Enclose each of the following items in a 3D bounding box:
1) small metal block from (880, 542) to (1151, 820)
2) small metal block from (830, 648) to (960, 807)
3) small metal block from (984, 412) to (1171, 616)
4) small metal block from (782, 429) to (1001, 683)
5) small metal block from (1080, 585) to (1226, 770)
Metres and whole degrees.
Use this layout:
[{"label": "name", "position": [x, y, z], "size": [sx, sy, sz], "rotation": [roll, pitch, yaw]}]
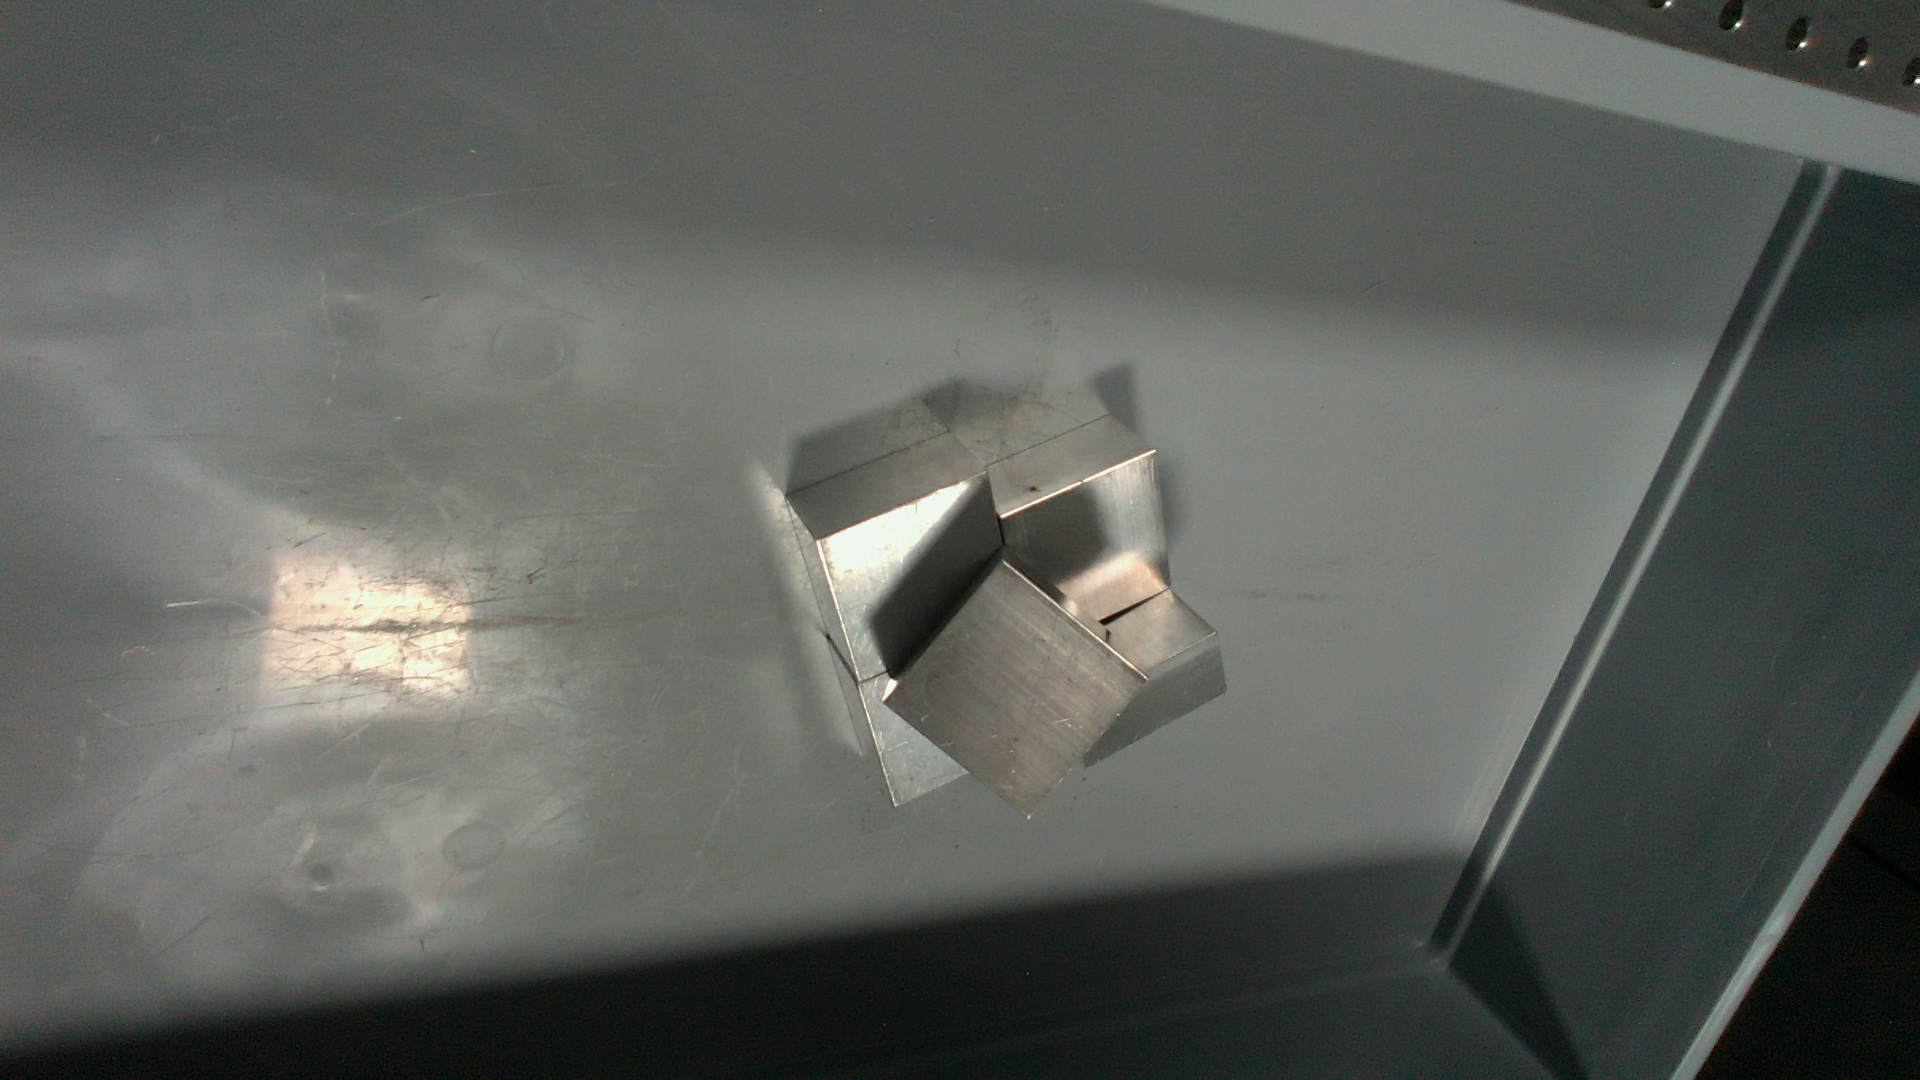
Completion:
[{"label": "small metal block", "position": [0.015, 0.037, 0.370], "size": [0.050, 0.025, 0.050], "rotation": [39, 97, -4]}, {"label": "small metal block", "position": [-0.008, 0.044, 0.411], "size": [0.050, 0.025, 0.050], "rotation": [-23, 127, -15]}, {"label": "small metal block", "position": [0.032, -0.002, 0.403], "size": [0.050, 0.025, 0.050], "rotation": [-23, 127, -15]}, {"label": "small metal block", "position": [-0.016, 0.004, 0.382], "size": [0.050, 0.025, 0.050], "rotation": [-23, 127, -15]}, {"label": "small metal block", "position": [0.044, 0.035, 0.416], "size": [0.050, 0.050, 0.025], "rotation": [-26, 128, -13]}]
